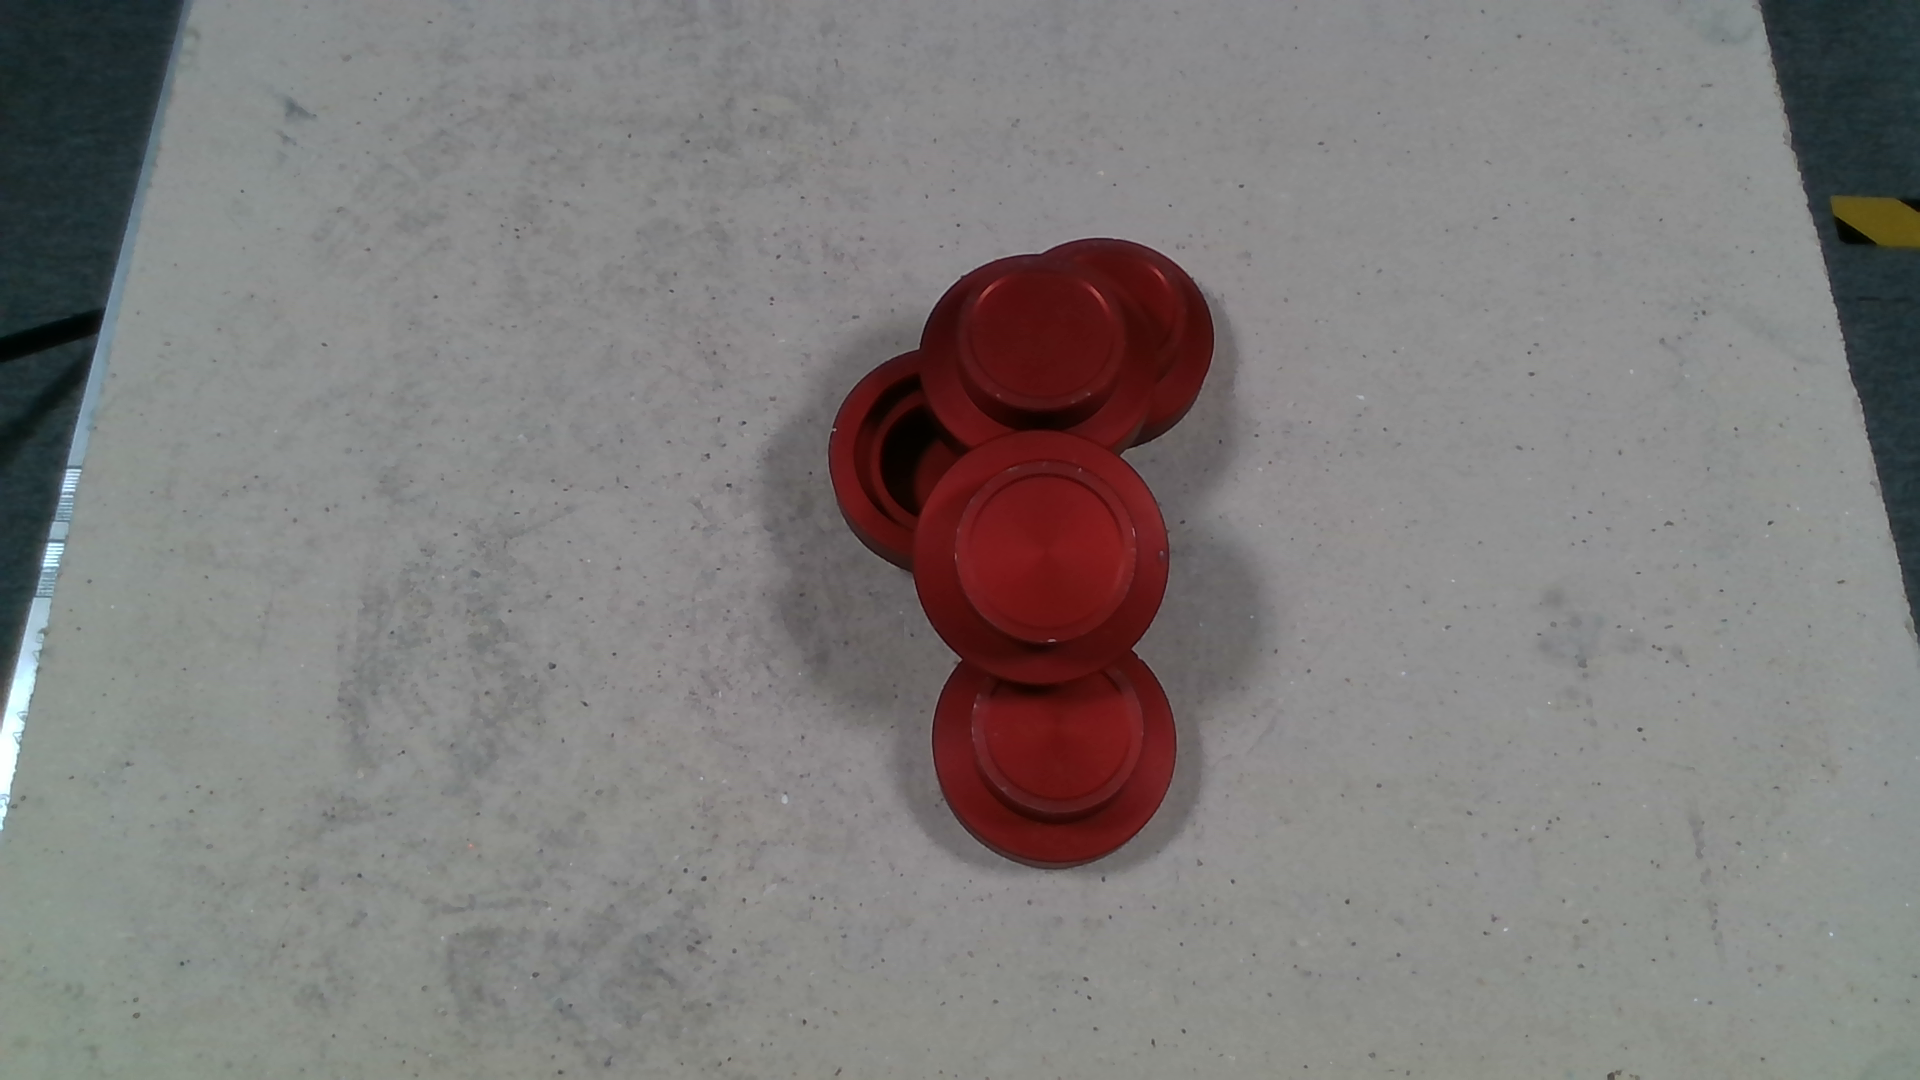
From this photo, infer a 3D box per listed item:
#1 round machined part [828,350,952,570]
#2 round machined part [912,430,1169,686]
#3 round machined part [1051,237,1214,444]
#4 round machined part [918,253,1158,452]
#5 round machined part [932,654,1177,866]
[{"bbox_3d":[-0.006,-0.031,0.590,0.098,0.042,0.098,0,70,0],"label":"round machined part"},{"bbox_3d":[0.031,0.006,0.521,0.098,0.042,0.098,0,83,-1],"label":"round machined part"},{"bbox_3d":[0.064,-0.093,0.612,0.098,0.042,0.098,0,70,0],"label":"round machined part"},{"bbox_3d":[0.032,-0.075,0.561,0.098,0.042,0.098,0,70,0],"label":"round machined part"},{"bbox_3d":[0.038,0.079,0.551,0.098,0.042,0.098,0,70,0],"label":"round machined part"}]
